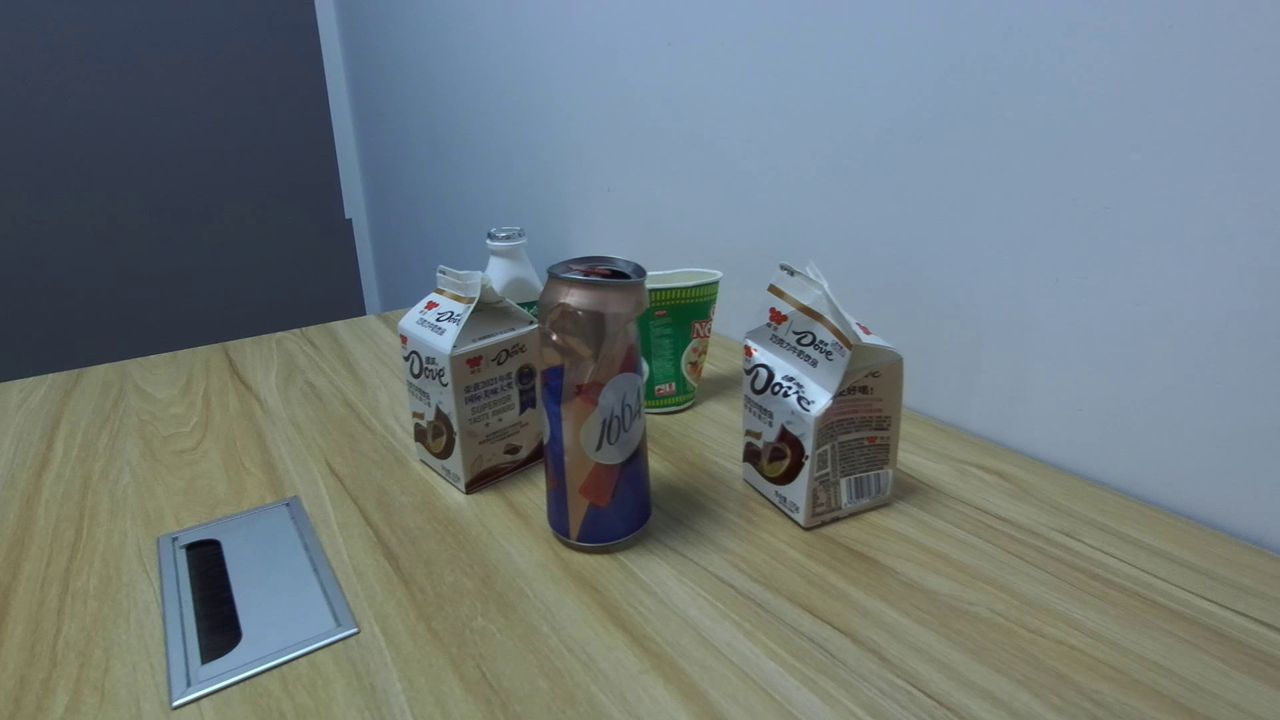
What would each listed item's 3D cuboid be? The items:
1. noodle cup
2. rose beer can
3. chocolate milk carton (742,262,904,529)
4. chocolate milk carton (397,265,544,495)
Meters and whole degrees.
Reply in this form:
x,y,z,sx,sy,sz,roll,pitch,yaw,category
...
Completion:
x,y,z,sx,sy,sz,roll,pitch,yaw,category
0.013,-0.016,0.600,0.115,0.111,0.070,-2,21,4,noodle cup
-0.024,0.027,0.416,0.065,0.167,0.076,16,25,30,rose beer can
0.114,0.017,0.445,0.074,0.156,0.076,-13,25,-22,chocolate milk carton
-0.117,0.006,0.499,0.074,0.148,0.075,-21,30,-38,chocolate milk carton
